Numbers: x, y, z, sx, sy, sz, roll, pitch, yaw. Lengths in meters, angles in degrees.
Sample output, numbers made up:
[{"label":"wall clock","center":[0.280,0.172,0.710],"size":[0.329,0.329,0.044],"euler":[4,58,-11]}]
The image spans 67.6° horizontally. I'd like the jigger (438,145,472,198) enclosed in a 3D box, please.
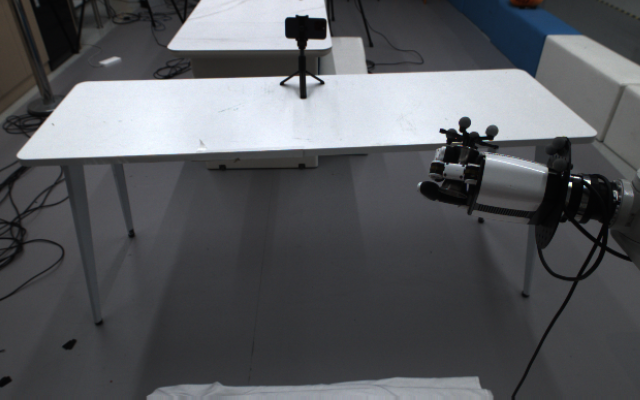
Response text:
[{"label":"jigger","center":[0.205,-0.042,0.708],"size":[0.043,0.071,0.043],"euler":[19,-6,2]}]
